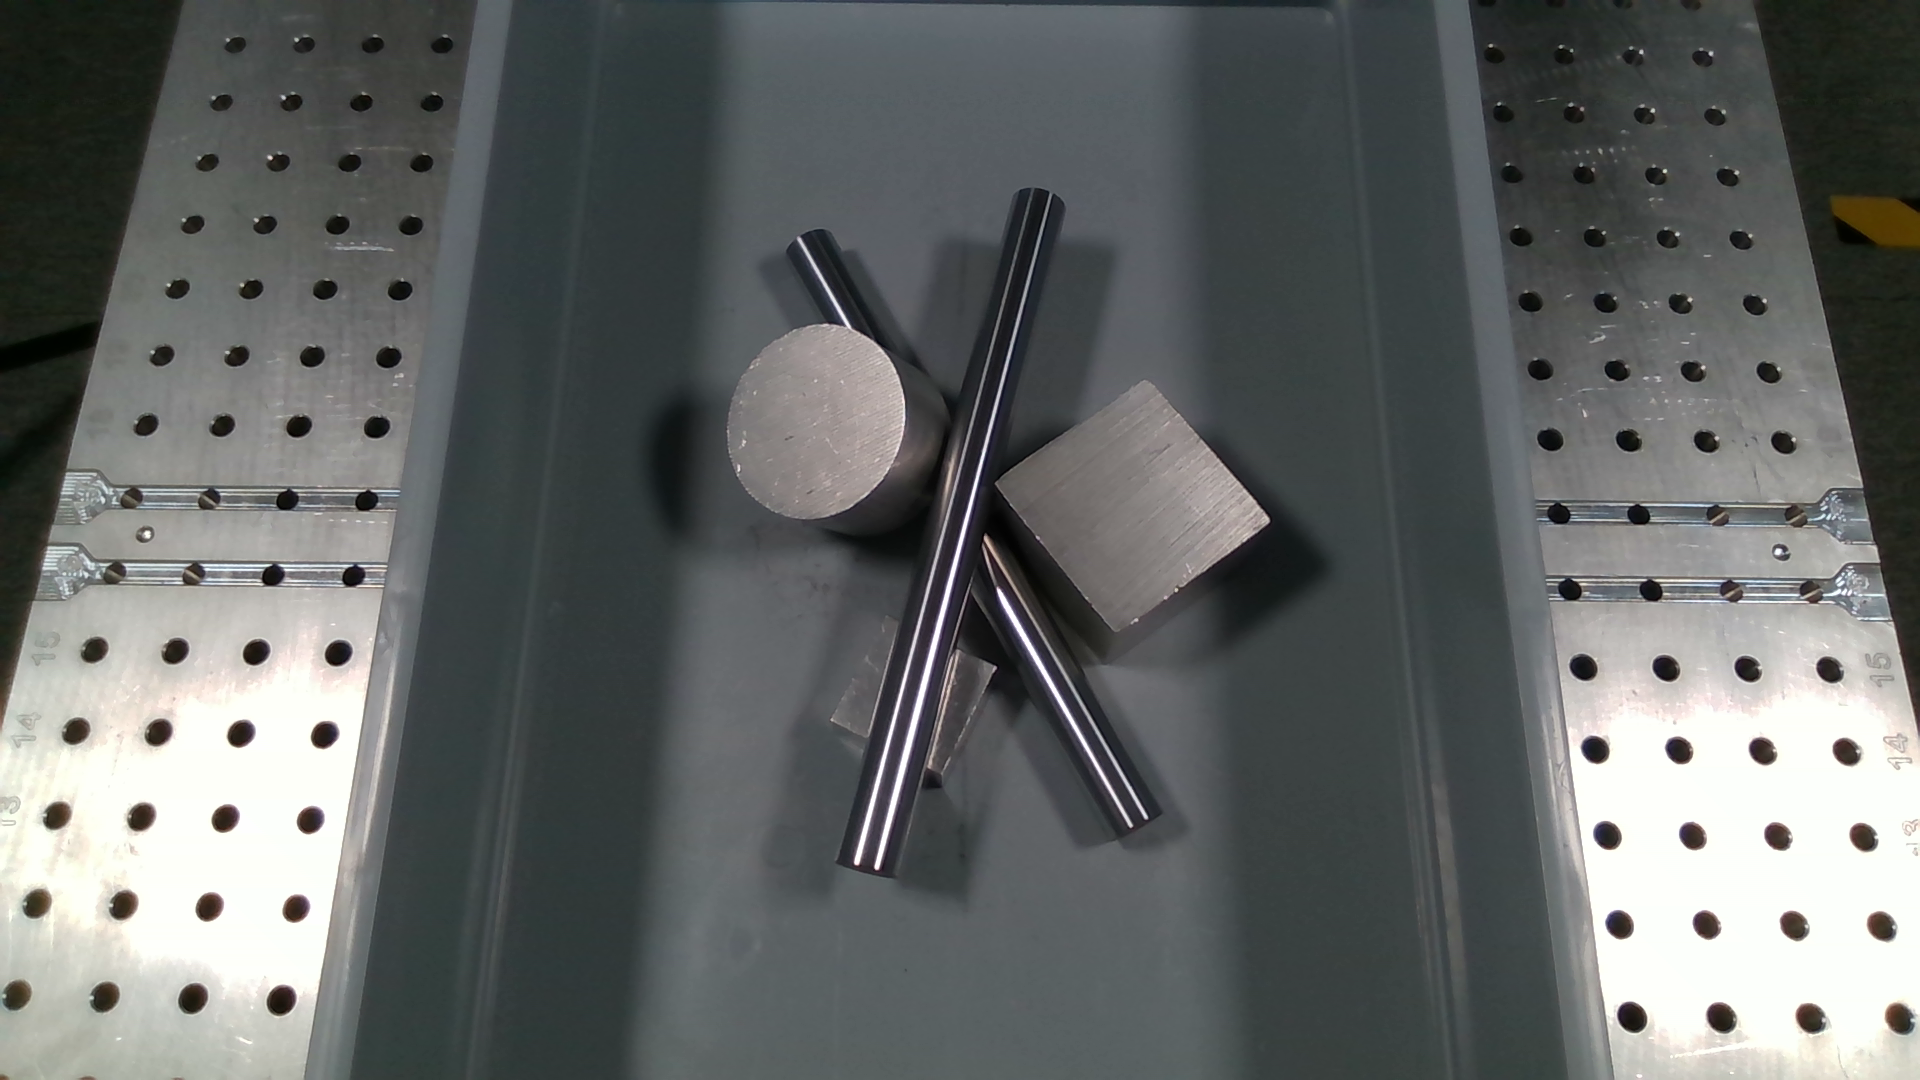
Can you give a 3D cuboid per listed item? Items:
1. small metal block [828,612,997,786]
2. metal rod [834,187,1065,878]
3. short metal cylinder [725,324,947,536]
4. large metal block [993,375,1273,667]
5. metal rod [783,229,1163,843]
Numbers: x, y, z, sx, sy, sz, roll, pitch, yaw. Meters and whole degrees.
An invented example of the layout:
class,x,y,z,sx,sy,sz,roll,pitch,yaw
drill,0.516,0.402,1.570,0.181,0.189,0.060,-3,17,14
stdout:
class,x,y,z,sx,sy,sz,roll,pitch,yaw
small metal block,-0.019,0.065,0.562,0.050,0.025,0.050,25,72,9
metal rod,-0.001,-0.013,0.565,0.025,0.025,0.299,13,71,5
short metal cylinder,-0.050,-0.045,0.575,0.080,0.050,0.080,-3,82,21
large metal block,0.069,-0.007,0.576,0.080,0.050,0.080,-34,74,-11
metal rod,0.000,-0.010,0.590,0.025,0.025,0.299,-27,72,-9
